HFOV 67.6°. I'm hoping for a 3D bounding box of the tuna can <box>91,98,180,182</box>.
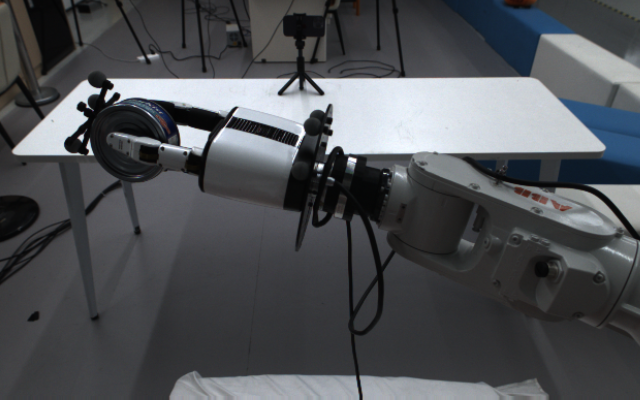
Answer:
[{"bbox_3d":[-0.191,-0.059,0.510,0.085,0.085,0.034,4,22,2],"label":"tuna can"}]
